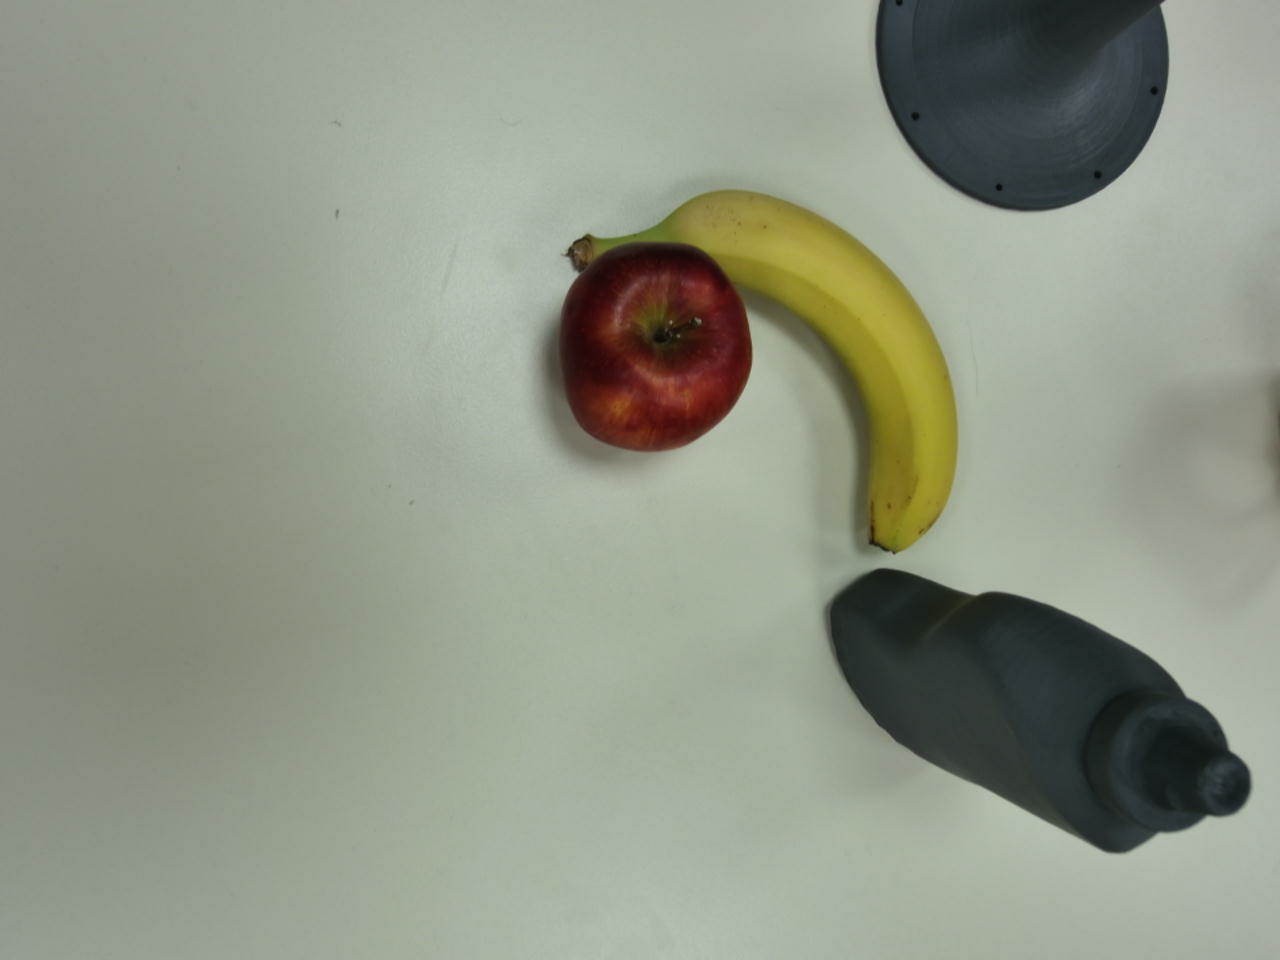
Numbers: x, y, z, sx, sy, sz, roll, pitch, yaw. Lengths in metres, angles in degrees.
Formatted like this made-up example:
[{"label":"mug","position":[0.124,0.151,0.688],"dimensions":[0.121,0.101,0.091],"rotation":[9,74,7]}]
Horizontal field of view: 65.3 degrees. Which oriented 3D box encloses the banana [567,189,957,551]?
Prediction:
[{"label":"banana","position":[0.072,-0.064,0.434],"dimensions":[0.196,0.041,0.094],"rotation":[44,82,-8]}]
